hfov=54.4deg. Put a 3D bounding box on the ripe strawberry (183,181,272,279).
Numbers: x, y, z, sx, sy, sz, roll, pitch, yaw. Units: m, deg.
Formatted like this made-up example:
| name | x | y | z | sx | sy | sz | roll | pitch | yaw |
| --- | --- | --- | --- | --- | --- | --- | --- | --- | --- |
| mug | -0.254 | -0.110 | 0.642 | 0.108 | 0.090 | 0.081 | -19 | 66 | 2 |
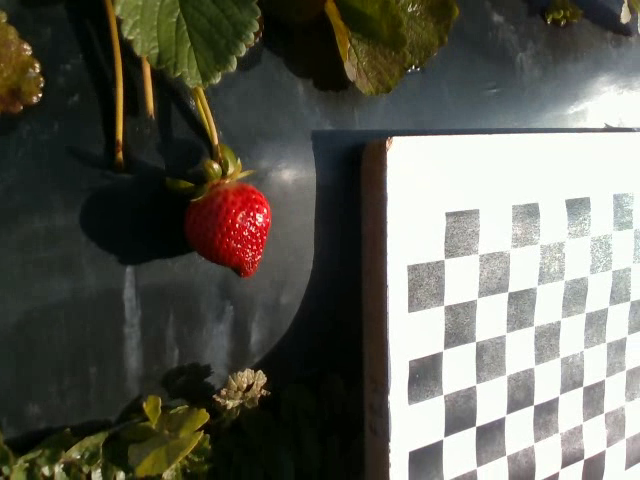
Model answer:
| name | x | y | z | sx | sy | sz | roll | pitch | yaw |
| --- | --- | --- | --- | --- | --- | --- | --- | --- | --- |
| ripe strawberry | -0.033 | -0.002 | 0.239 | 0.040 | 0.044 | 0.036 | -28 | 8 | -26 |
